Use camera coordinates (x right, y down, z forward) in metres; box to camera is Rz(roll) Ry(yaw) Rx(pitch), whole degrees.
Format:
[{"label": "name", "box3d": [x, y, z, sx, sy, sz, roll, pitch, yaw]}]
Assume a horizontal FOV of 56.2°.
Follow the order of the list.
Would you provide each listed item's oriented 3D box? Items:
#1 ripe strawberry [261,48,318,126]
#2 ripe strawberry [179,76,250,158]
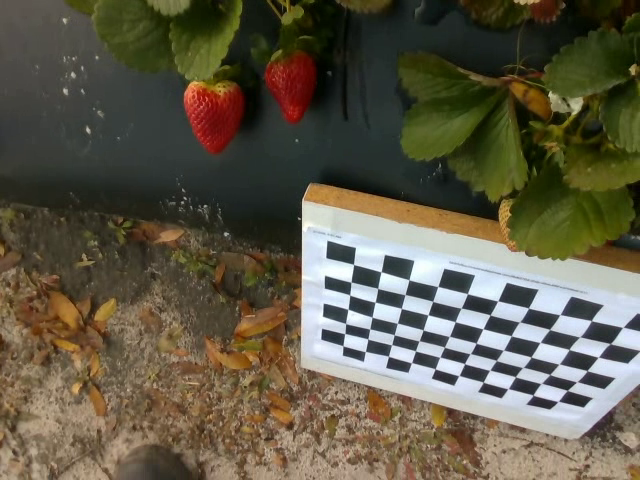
[{"label": "ripe strawberry", "box3d": [-0.022, -0.105, 0.409, 0.042, 0.053, 0.034, 6, 17, 23]}, {"label": "ripe strawberry", "box3d": [-0.079, -0.092, 0.439, 0.050, 0.061, 0.045, 10, 15, 19]}]
